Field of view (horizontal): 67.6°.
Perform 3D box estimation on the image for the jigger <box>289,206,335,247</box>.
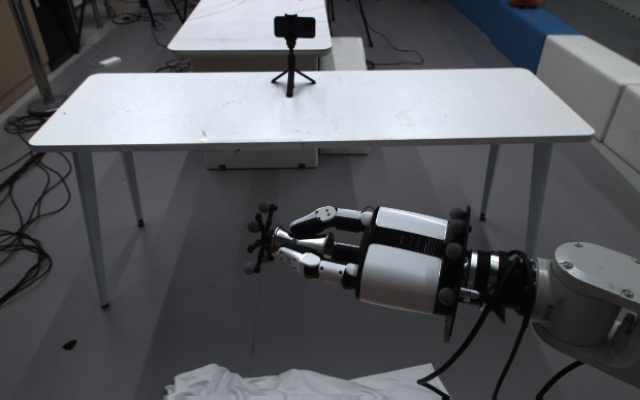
[{"bbox_3d":[-0.015,0.053,0.596,0.071,0.043,0.043,9,35,17],"label":"jigger"}]
